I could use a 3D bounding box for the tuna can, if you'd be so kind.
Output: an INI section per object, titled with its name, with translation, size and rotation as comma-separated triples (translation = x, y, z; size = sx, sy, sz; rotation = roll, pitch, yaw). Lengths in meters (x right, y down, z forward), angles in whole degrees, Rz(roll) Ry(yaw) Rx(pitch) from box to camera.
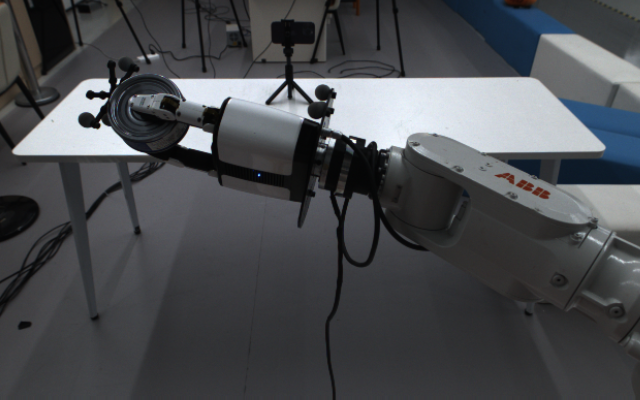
[tuna can]
translation = -0.191, -0.100, 0.549
size = 0.085, 0.034, 0.085
rotation = 0, 75, -1
